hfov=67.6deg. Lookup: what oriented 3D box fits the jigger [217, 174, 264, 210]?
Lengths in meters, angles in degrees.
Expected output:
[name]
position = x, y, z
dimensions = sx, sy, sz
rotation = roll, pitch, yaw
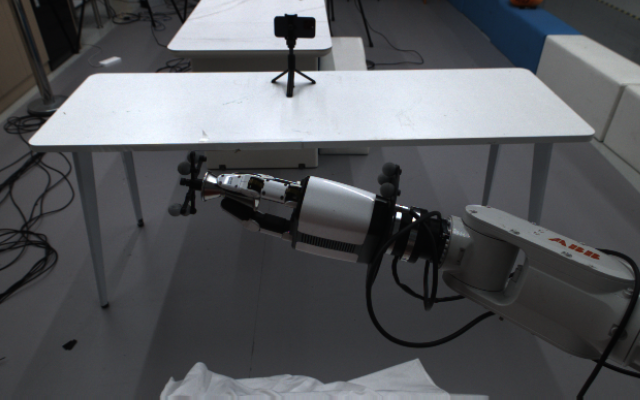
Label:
[jigger]
position = -0.104, -0.014, 0.612
dimensions = 0.071, 0.043, 0.043
rotation = 10, 35, 1
